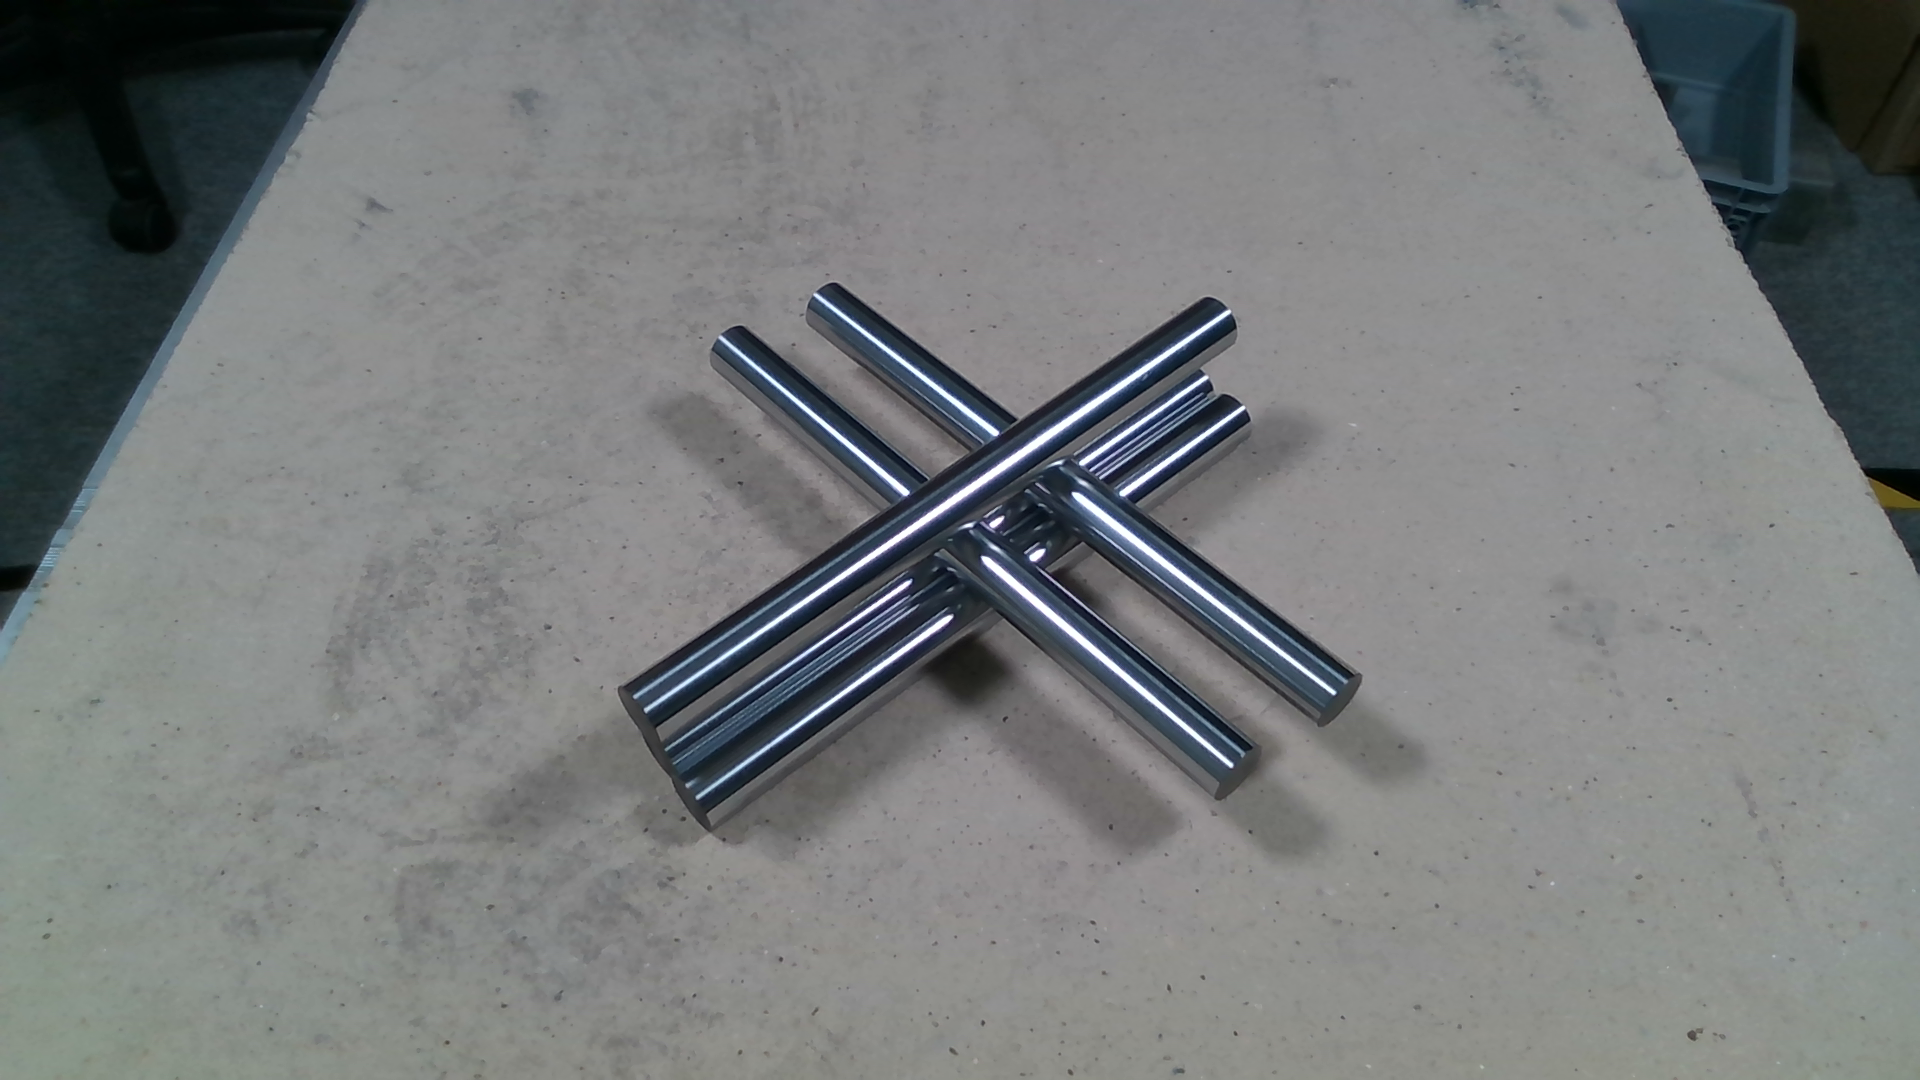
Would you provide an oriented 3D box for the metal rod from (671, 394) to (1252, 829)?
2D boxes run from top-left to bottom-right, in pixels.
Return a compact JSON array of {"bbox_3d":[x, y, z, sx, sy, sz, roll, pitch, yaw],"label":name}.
[{"bbox_3d":[0.013,0.020,0.570,0.300,0.025,0.025,-34,58,-25],"label":"metal rod"}]

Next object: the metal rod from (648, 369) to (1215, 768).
[{"bbox_3d":[-0.001,0.004,0.584,0.300,0.025,0.025,-34,58,-25],"label":"metal rod"}]

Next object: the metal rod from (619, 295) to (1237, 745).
[{"bbox_3d":[0.001,-0.018,0.536,0.300,0.025,0.025,-35,58,-26],"label":"metal rod"}]

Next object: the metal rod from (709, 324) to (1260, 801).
[{"bbox_3d":[-0.003,-0.002,0.557,0.025,0.025,0.299,-35,58,-26],"label":"metal rod"}]

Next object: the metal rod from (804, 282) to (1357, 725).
[{"bbox_3d":[0.037,-0.026,0.576,0.025,0.025,0.299,-35,58,-26],"label":"metal rod"}]
